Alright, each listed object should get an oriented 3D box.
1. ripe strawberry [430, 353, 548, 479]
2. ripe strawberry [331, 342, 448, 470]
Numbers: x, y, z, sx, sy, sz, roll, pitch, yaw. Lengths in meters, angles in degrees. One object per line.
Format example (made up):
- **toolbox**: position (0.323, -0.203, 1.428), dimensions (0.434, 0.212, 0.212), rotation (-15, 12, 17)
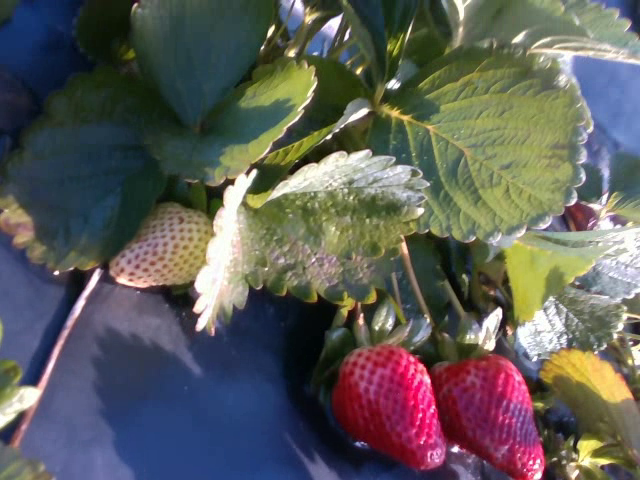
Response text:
- **ripe strawberry**: position (0.069, 0.072, 0.232), dimensions (0.052, 0.046, 0.058), rotation (-12, 49, -25)
- **ripe strawberry**: position (0.026, 0.058, 0.199), dimensions (0.043, 0.052, 0.037), rotation (-21, -34, -22)
